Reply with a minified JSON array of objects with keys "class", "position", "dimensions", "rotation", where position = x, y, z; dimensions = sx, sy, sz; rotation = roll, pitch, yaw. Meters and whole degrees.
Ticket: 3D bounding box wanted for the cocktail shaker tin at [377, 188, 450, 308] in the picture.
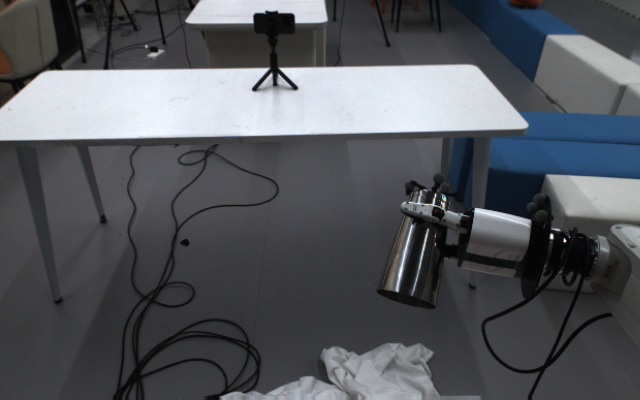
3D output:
[{"class":"cocktail shaker tin","position":[0.155,0.070,0.757],"dimensions":[0.093,0.093,0.170],"rotation":[13,72,15]}]
